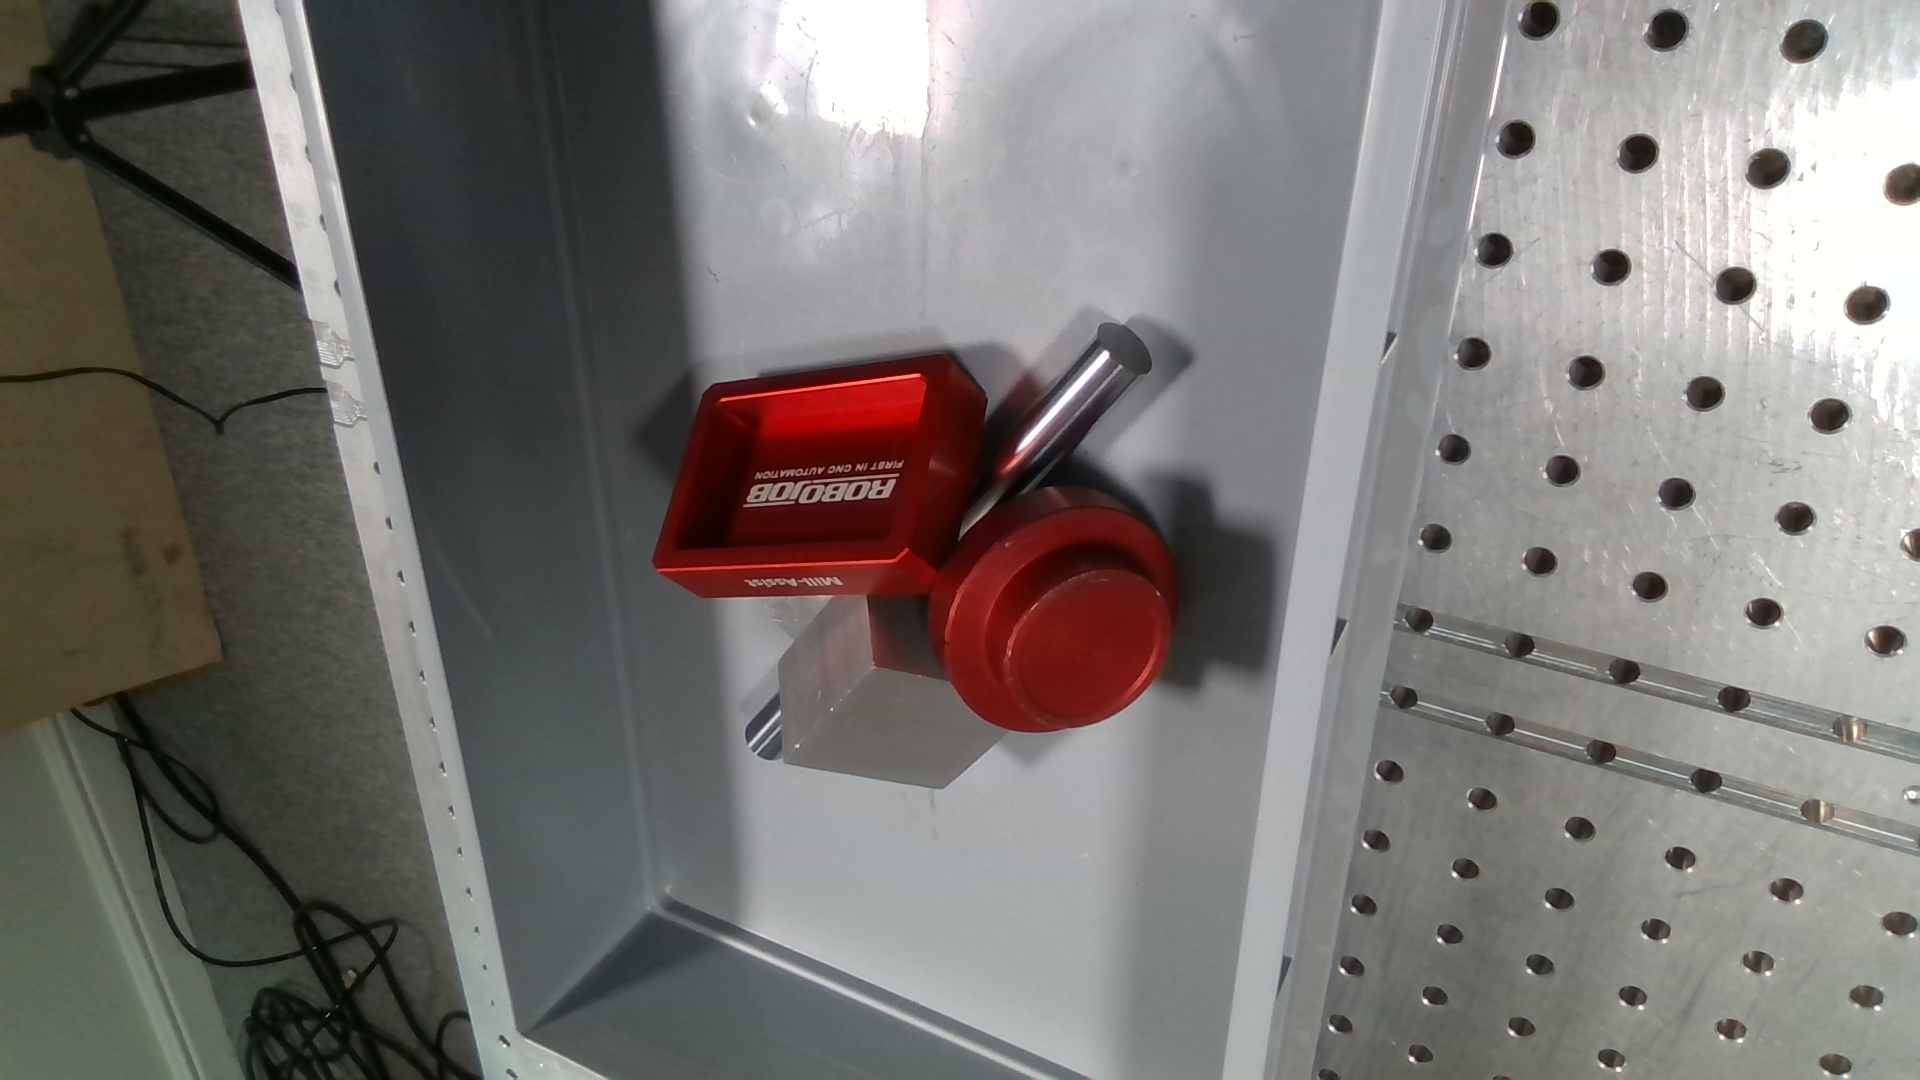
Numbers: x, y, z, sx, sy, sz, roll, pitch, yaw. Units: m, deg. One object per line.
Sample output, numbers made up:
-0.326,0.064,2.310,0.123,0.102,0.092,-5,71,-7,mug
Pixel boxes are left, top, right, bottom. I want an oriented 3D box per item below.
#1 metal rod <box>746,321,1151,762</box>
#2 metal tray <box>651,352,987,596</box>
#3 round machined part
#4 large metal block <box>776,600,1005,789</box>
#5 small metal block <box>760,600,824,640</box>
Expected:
-0.019,0.015,0.598,0.025,0.025,0.301,45,129,3,metal rod
-0.059,-0.024,0.561,0.130,0.090,0.030,-3,154,32,metal tray
0.040,0.033,0.522,0.042,0.098,0.098,-130,33,-56,round machined part
-0.023,0.060,0.584,0.080,0.050,0.080,15,136,-29,large metal block
-0.053,0.015,0.603,0.025,0.050,0.050,46,129,2,small metal block
